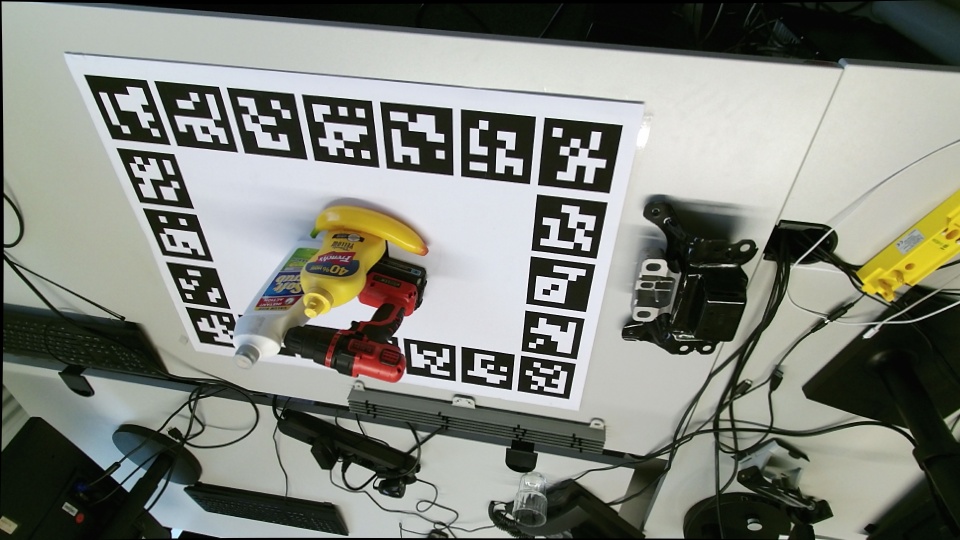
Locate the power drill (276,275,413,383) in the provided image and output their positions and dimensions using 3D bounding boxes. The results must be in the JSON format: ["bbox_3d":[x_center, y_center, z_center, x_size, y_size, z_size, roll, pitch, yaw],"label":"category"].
[{"bbox_3d":[-0.193,0.086,0.833,0.185,0.186,0.057,18,127,0],"label":"power drill"}]

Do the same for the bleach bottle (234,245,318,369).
[{"bbox_3d":[-0.302,0.062,0.835,0.103,0.250,0.068,10,131,5],"label":"bleach bottle"}]

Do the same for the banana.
[{"bbox_3d":[-0.190,-0.058,0.862,0.198,0.039,0.074,10,125,2],"label":"banana"}]

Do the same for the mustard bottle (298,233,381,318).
[{"bbox_3d":[-0.226,0.011,0.812,0.096,0.191,0.058,8,126,7],"label":"mustard bottle"}]
